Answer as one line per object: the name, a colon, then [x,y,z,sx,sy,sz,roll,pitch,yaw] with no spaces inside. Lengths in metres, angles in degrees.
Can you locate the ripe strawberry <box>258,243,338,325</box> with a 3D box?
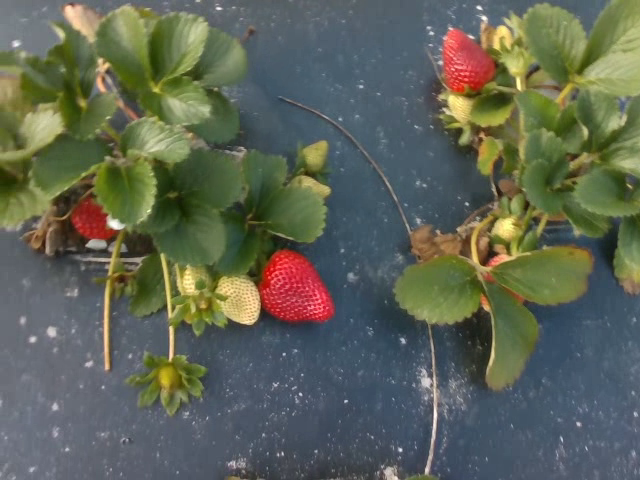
ripe strawberry: [-0.014,0.039,0.407,0.055,0.051,0.048,39,24,30]
